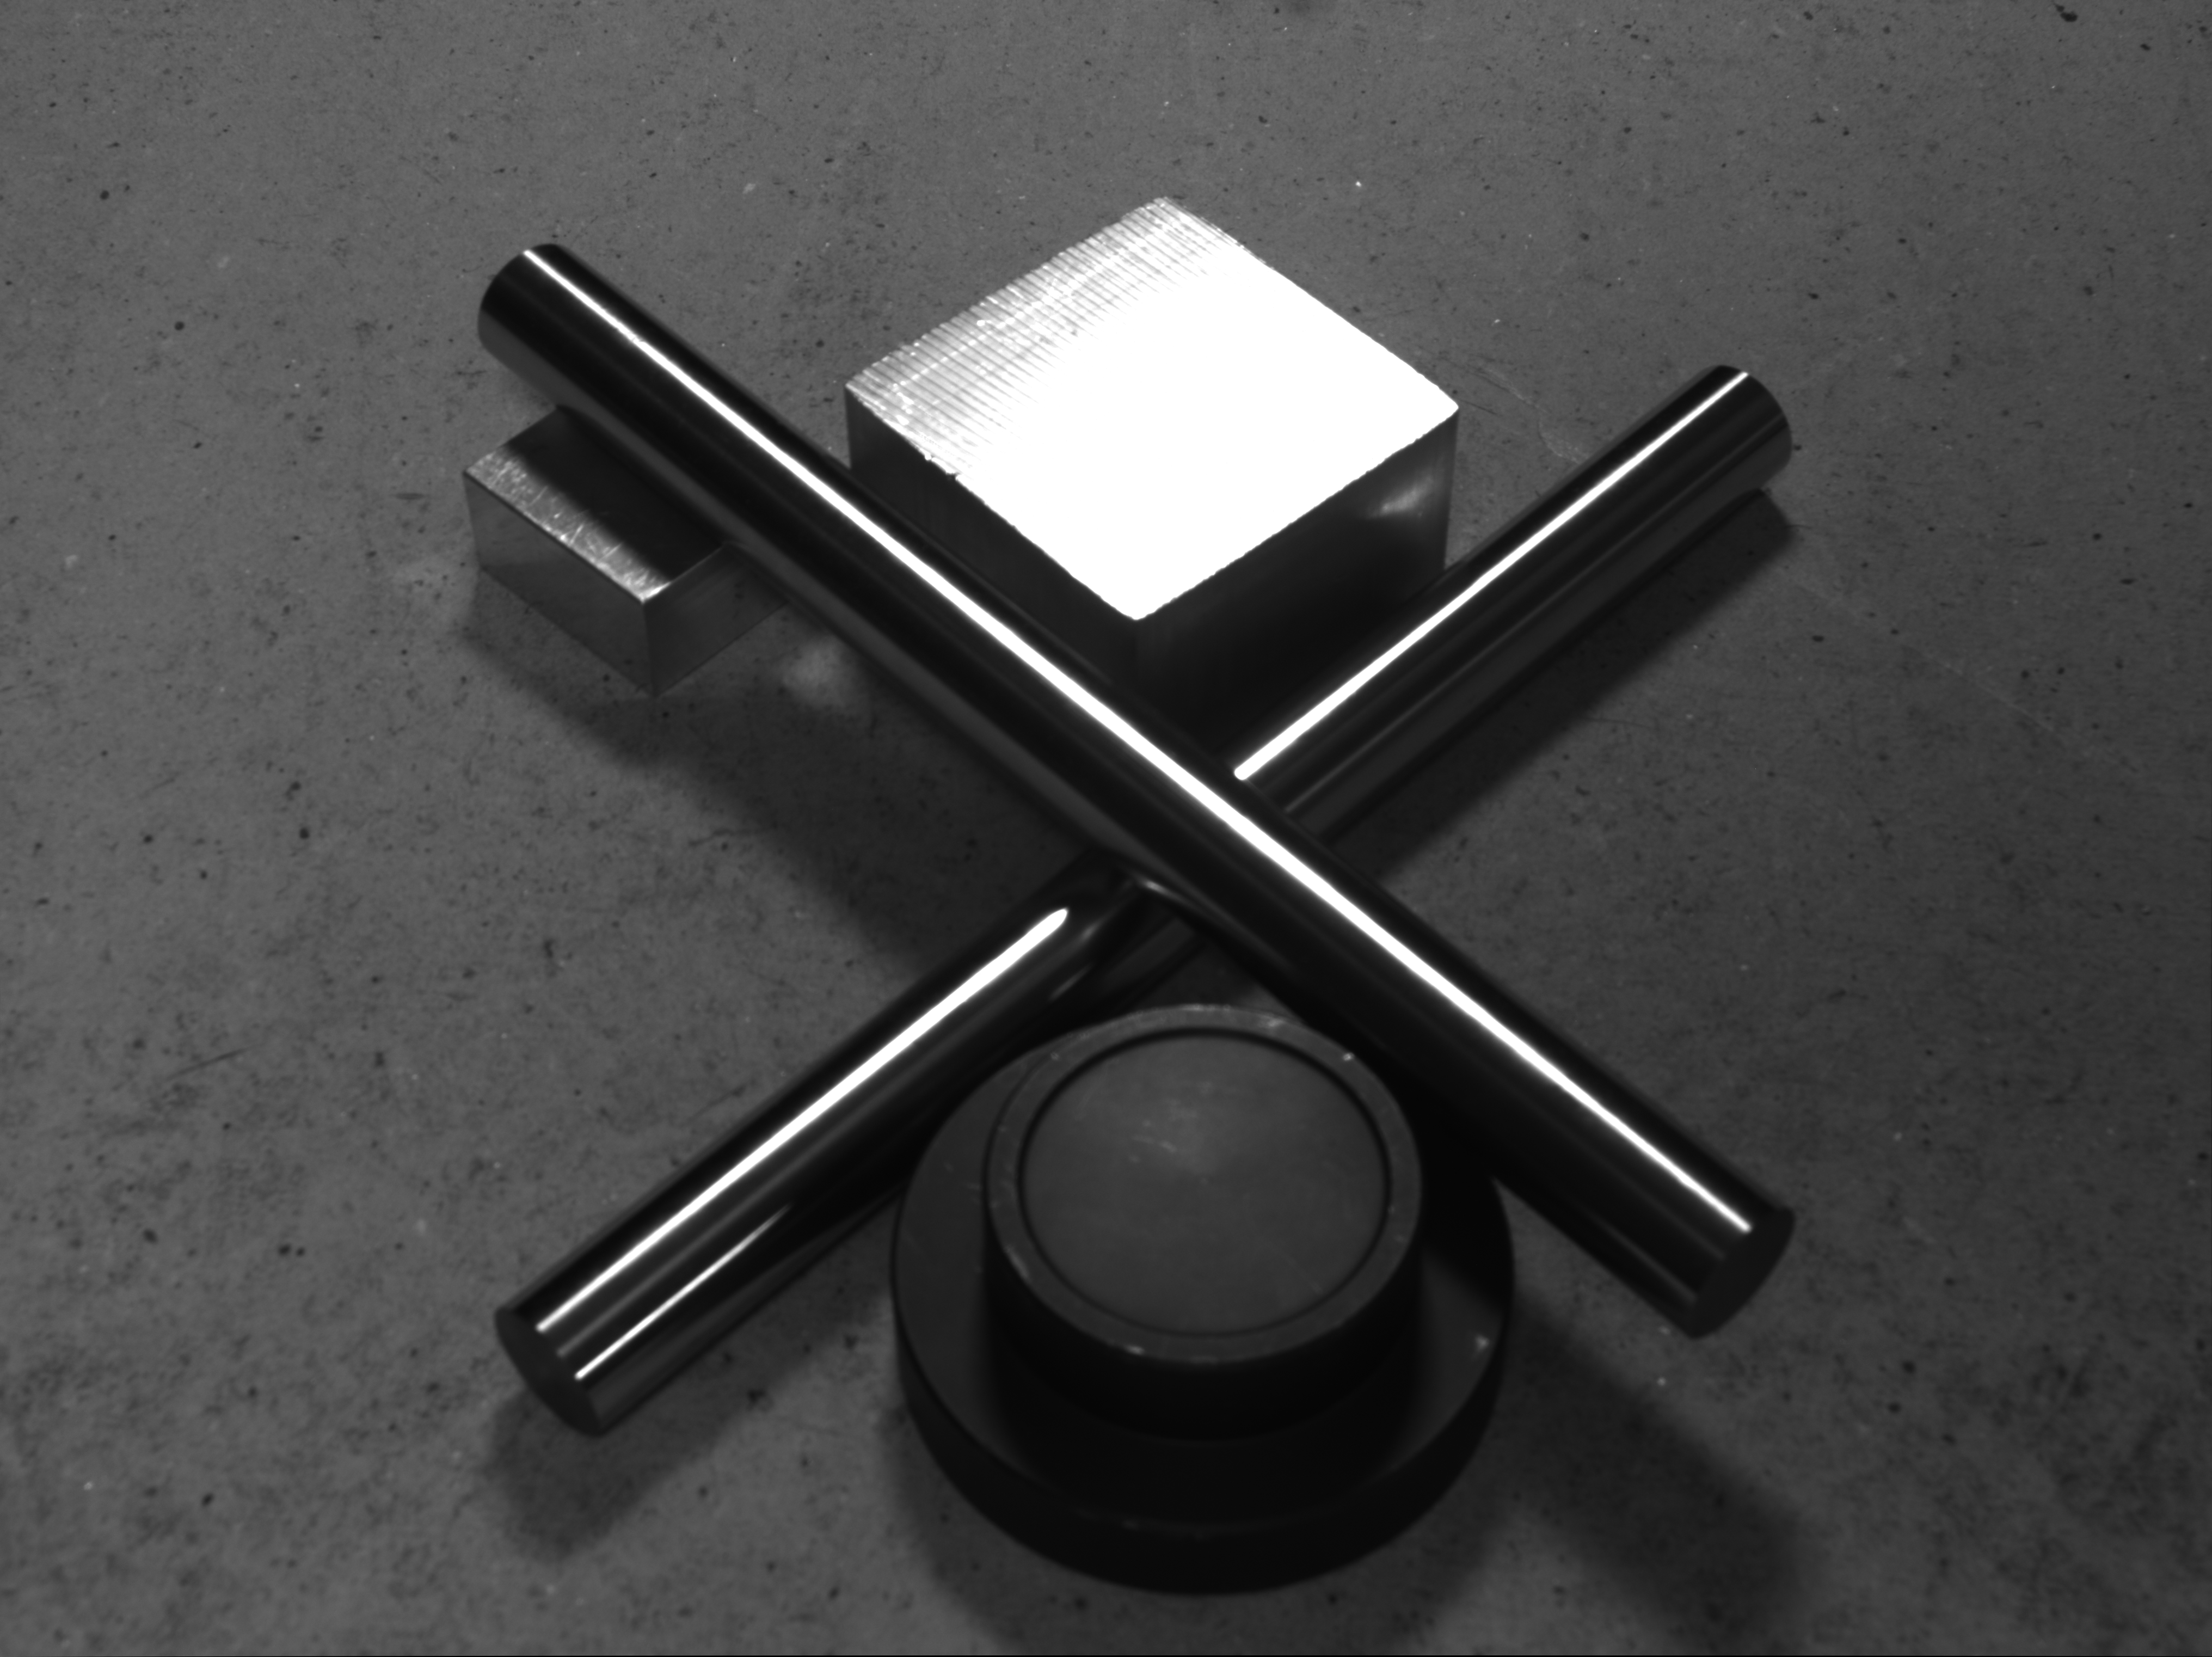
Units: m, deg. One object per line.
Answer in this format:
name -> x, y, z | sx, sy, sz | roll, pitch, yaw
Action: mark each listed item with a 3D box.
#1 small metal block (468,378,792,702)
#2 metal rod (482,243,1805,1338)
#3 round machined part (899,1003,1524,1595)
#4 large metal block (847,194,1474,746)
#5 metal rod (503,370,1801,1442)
small metal block -> -0.084, -0.059, 0.693 | 0.050, 0.025, 0.050 | 36, 58, 26
metal rod -> -0.005, -0.016, 0.623 | 0.025, 0.025, 0.299 | -36, 58, -26
round machined part -> 0.017, 0.066, 0.574 | 0.098, 0.042, 0.098 | 0, 50, 0
large metal block -> 0.010, -0.061, 0.679 | 0.080, 0.050, 0.080 | -34, 58, -25
metal rod -> 0.019, 0.004, 0.641 | 0.025, 0.025, 0.300 | 37, 59, 27
